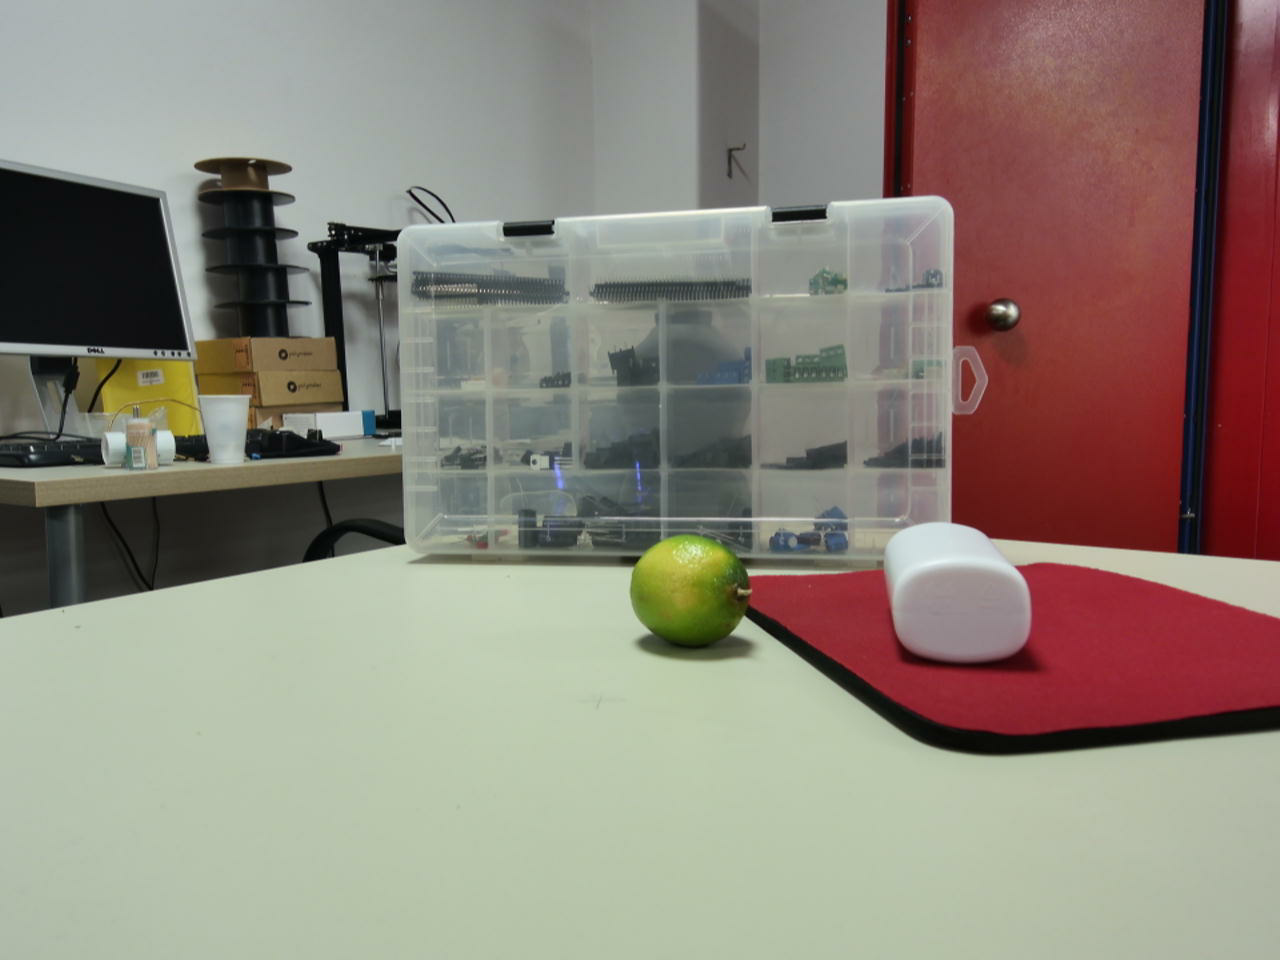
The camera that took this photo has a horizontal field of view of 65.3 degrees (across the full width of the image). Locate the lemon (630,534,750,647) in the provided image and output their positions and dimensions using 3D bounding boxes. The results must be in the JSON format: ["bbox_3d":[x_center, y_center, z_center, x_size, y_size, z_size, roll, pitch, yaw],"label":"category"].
[{"bbox_3d":[0.023,0.051,0.467,0.054,0.050,0.055,-1,3,-3],"label":"lemon"}]
